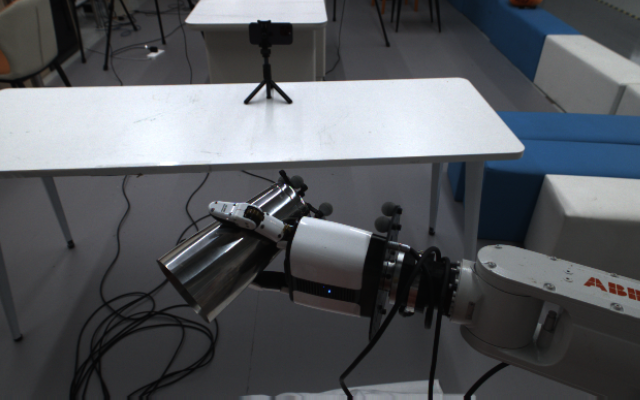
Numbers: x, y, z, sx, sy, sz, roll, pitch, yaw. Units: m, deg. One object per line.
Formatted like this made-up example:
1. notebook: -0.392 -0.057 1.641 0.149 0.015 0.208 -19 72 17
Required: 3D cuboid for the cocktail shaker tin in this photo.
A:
1. cocktail shaker tin: -0.093 0.049 0.573 0.170 0.093 0.093 -38 49 -23
